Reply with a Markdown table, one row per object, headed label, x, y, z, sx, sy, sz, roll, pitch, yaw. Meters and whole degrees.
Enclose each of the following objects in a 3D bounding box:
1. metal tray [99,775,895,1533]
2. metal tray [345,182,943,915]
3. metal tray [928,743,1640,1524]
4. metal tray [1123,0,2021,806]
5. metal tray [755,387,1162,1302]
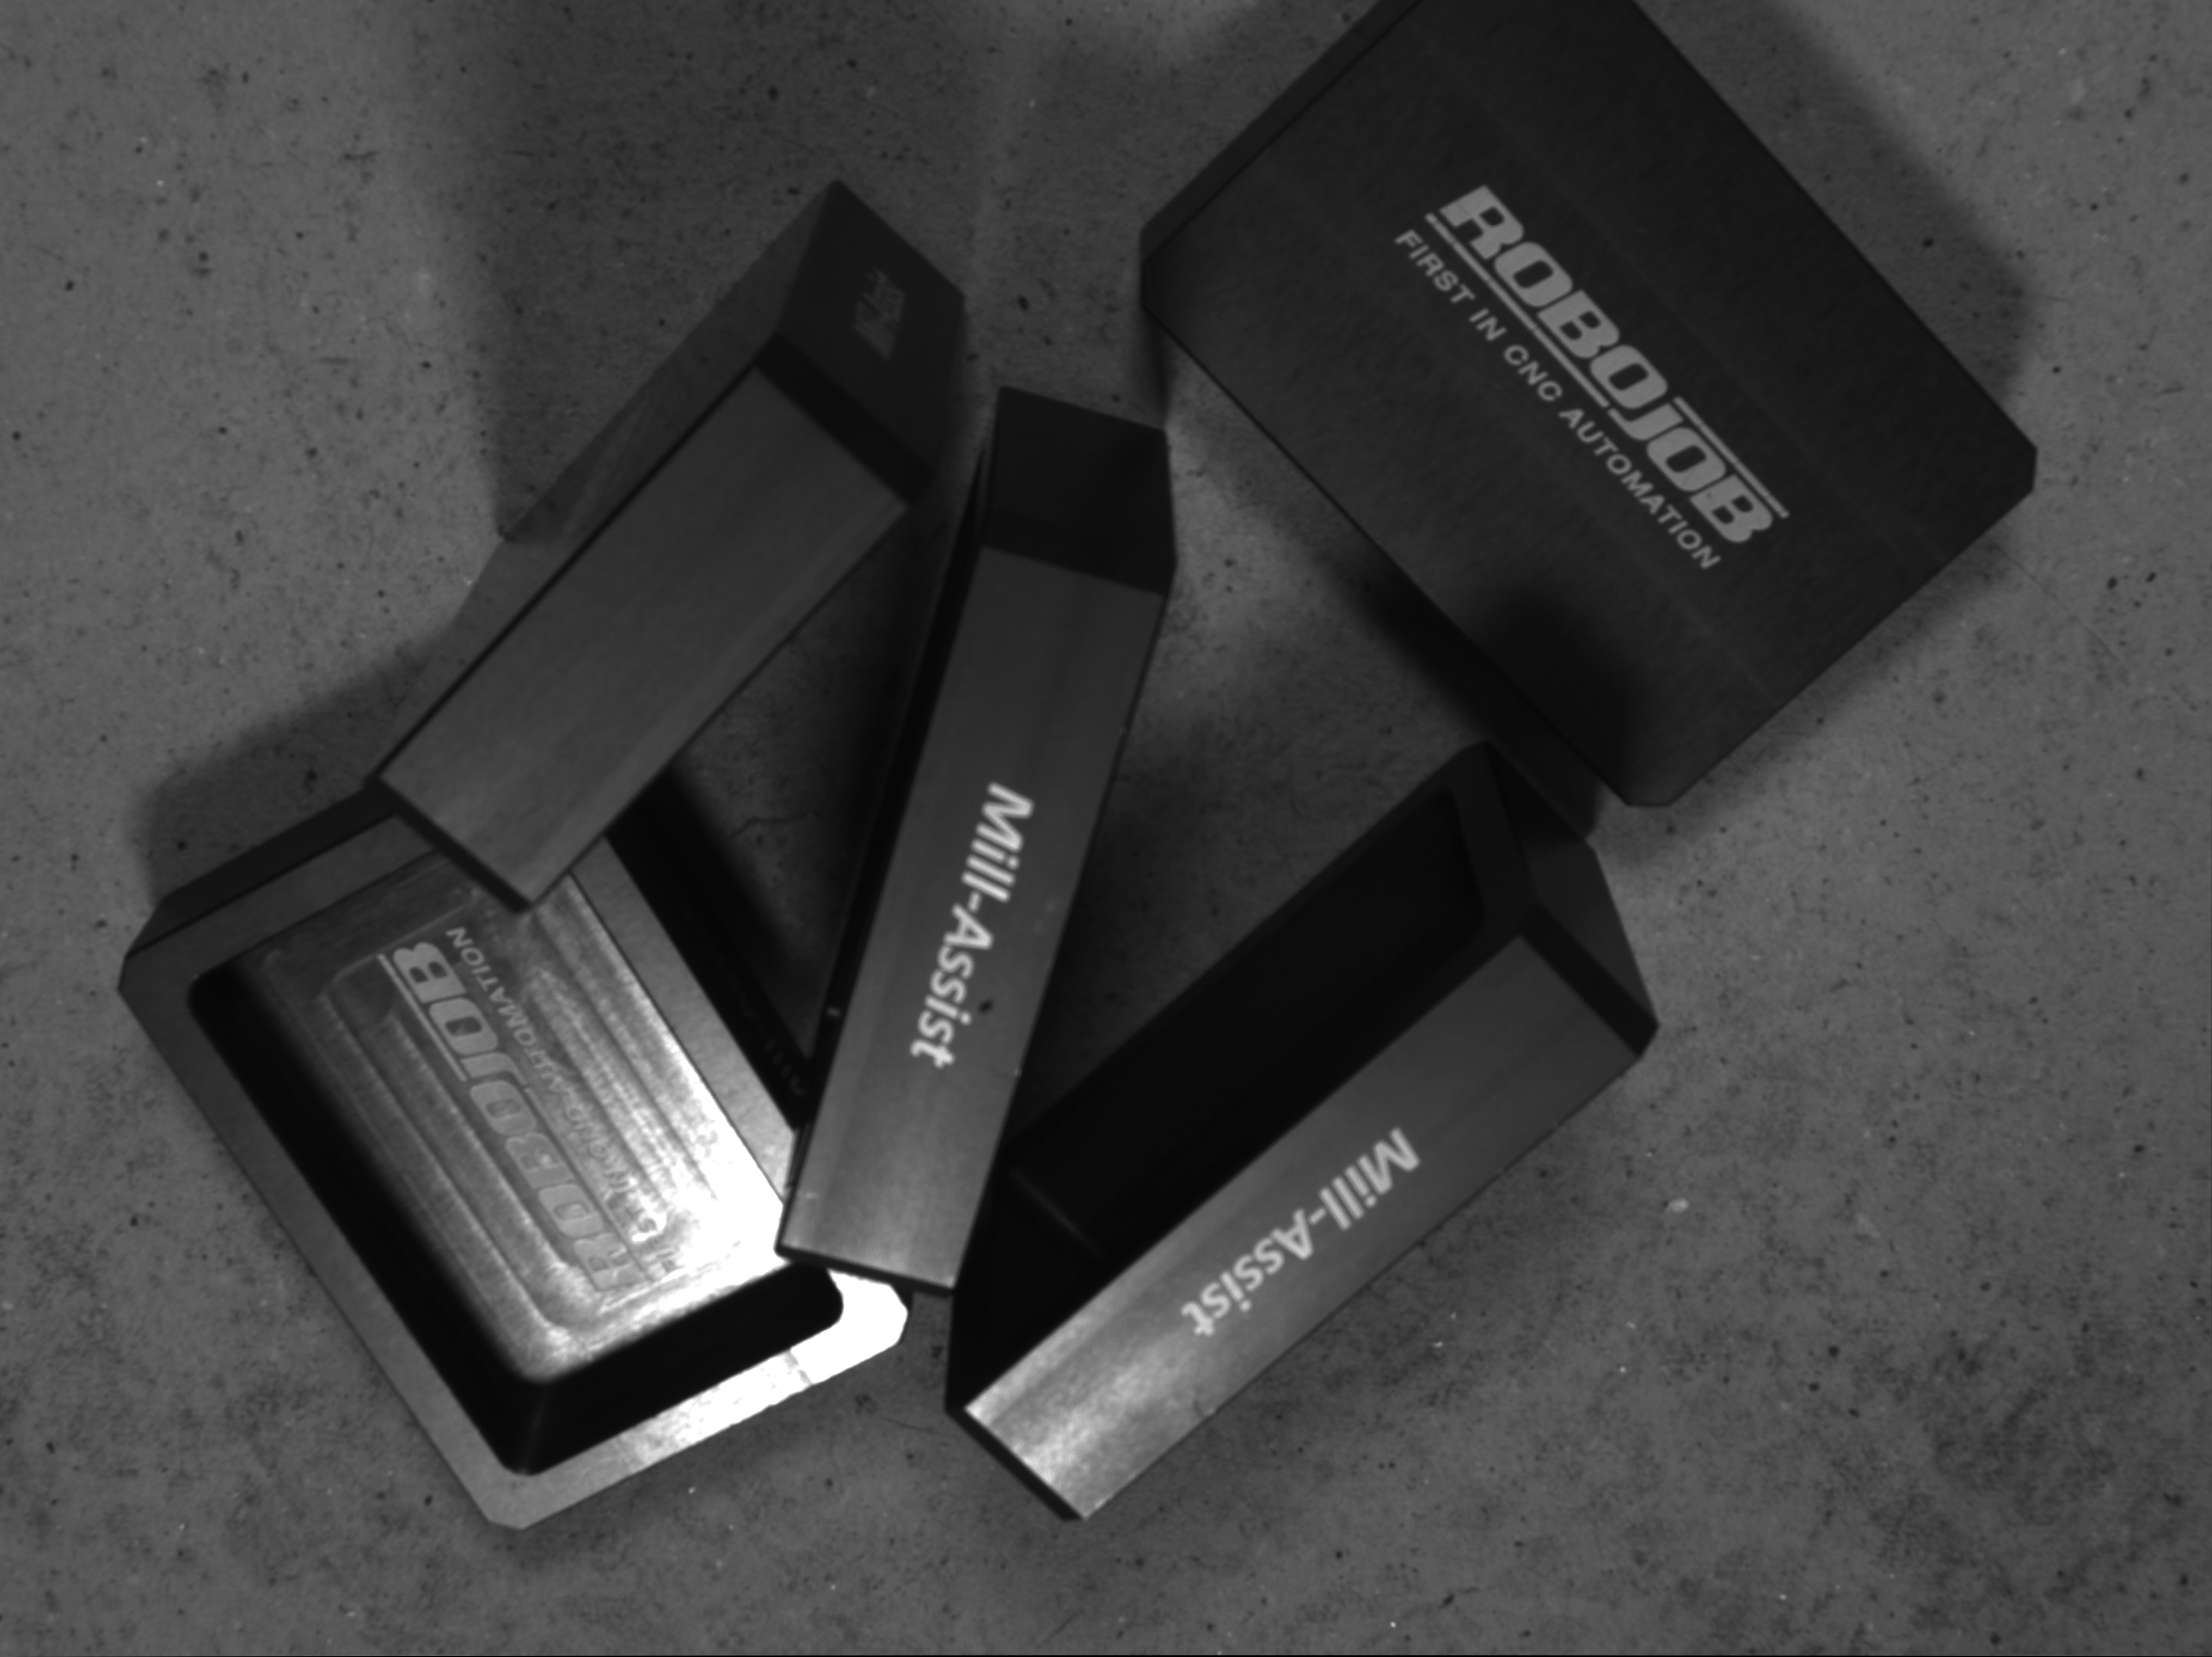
| label | x | y | z | sx | sy | sz | roll | pitch | yaw |
| --- | --- | --- | --- | --- | --- | --- | --- | --- | --- |
| metal tray | -0.106 | 0.053 | 0.658 | 0.090 | 0.030 | 0.130 | -27 | 108 | 9 |
| metal tray | -0.068 | -0.048 | 0.569 | 0.030 | 0.130 | 0.090 | 42 | 104 | -14 |
| metal tray | 0.027 | 0.050 | 0.627 | 0.130 | 0.090 | 0.030 | -42 | 105 | 13 |
| metal tray | 0.077 | -0.079 | 0.613 | 0.090 | 0.030 | 0.130 | -43 | 105 | 13 |
| metal tray | -0.024 | 0.001 | 0.608 | 0.030 | 0.090 | 0.130 | 15 | 109 | -6 |
